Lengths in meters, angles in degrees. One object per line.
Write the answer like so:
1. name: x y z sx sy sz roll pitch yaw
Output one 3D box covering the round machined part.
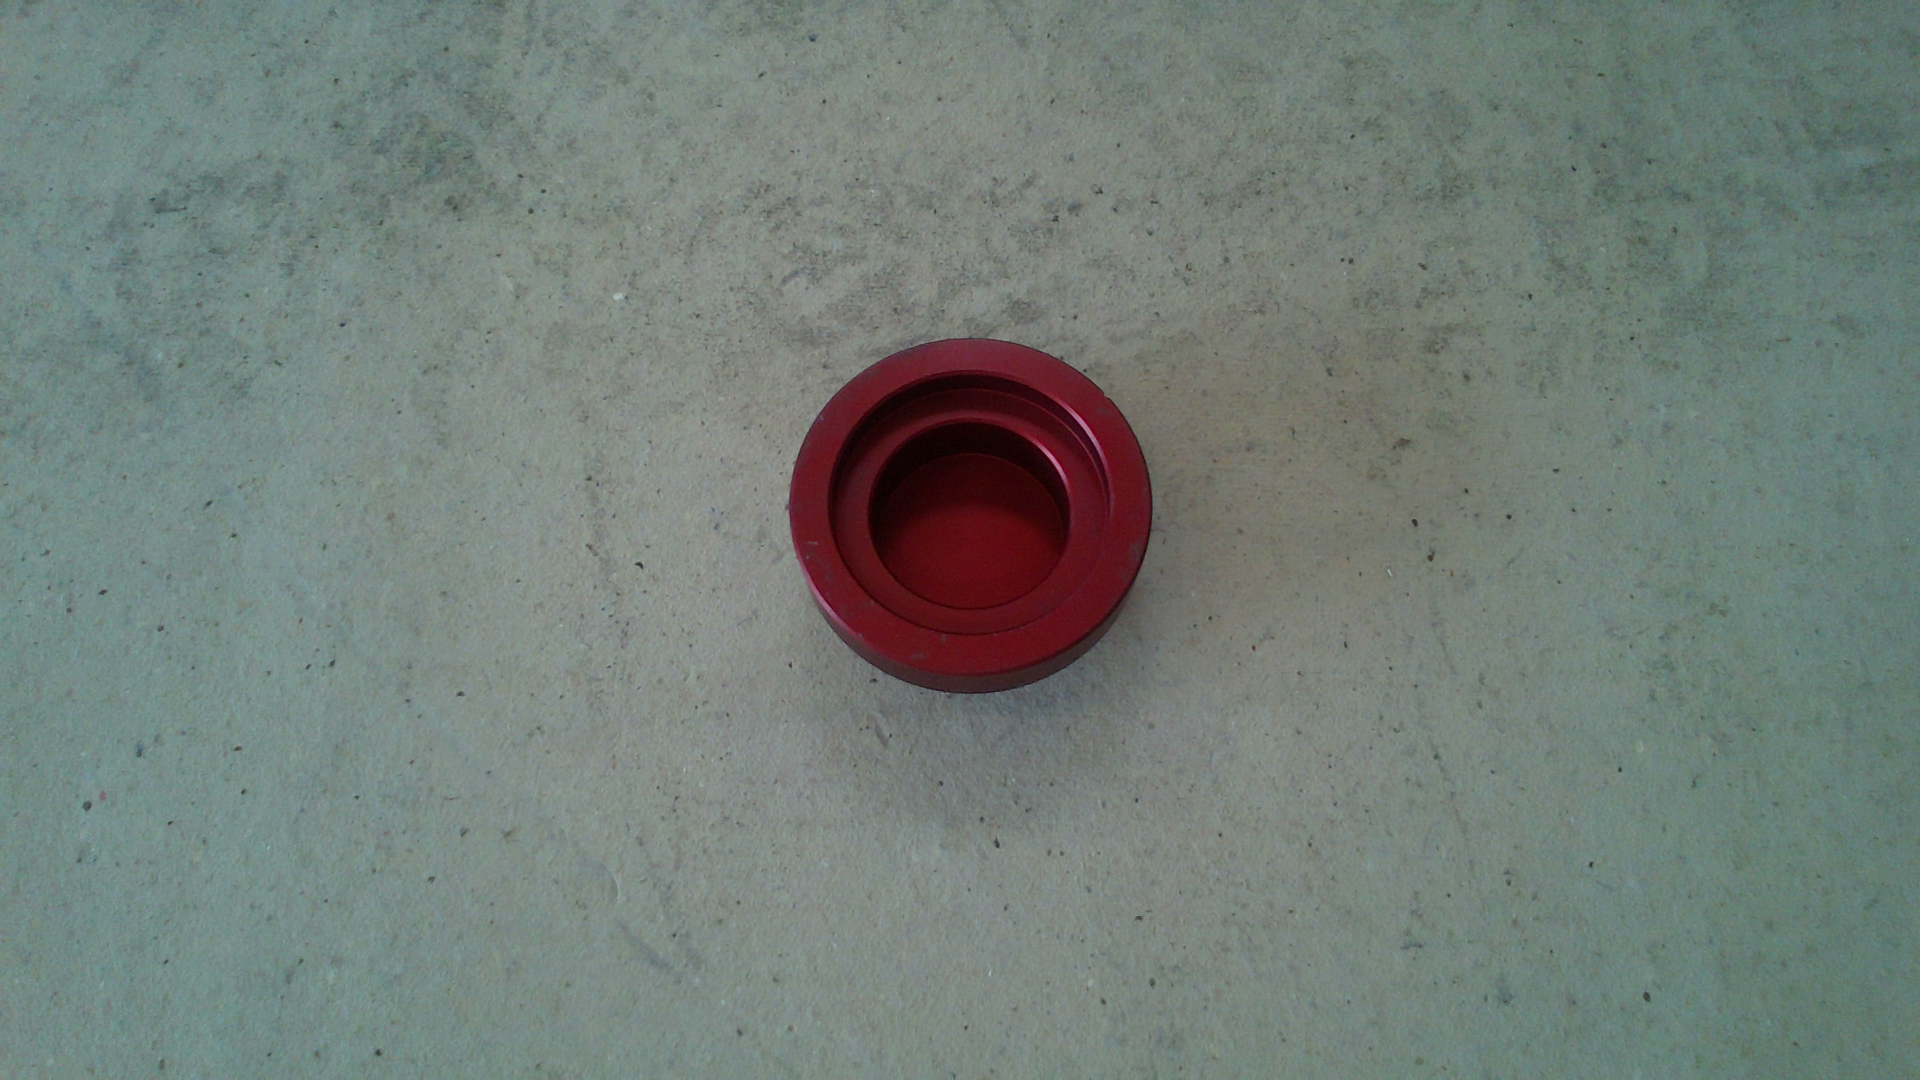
1. round machined part: 0.003 -0.004 0.387 0.098 0.042 0.098 0 70 0
